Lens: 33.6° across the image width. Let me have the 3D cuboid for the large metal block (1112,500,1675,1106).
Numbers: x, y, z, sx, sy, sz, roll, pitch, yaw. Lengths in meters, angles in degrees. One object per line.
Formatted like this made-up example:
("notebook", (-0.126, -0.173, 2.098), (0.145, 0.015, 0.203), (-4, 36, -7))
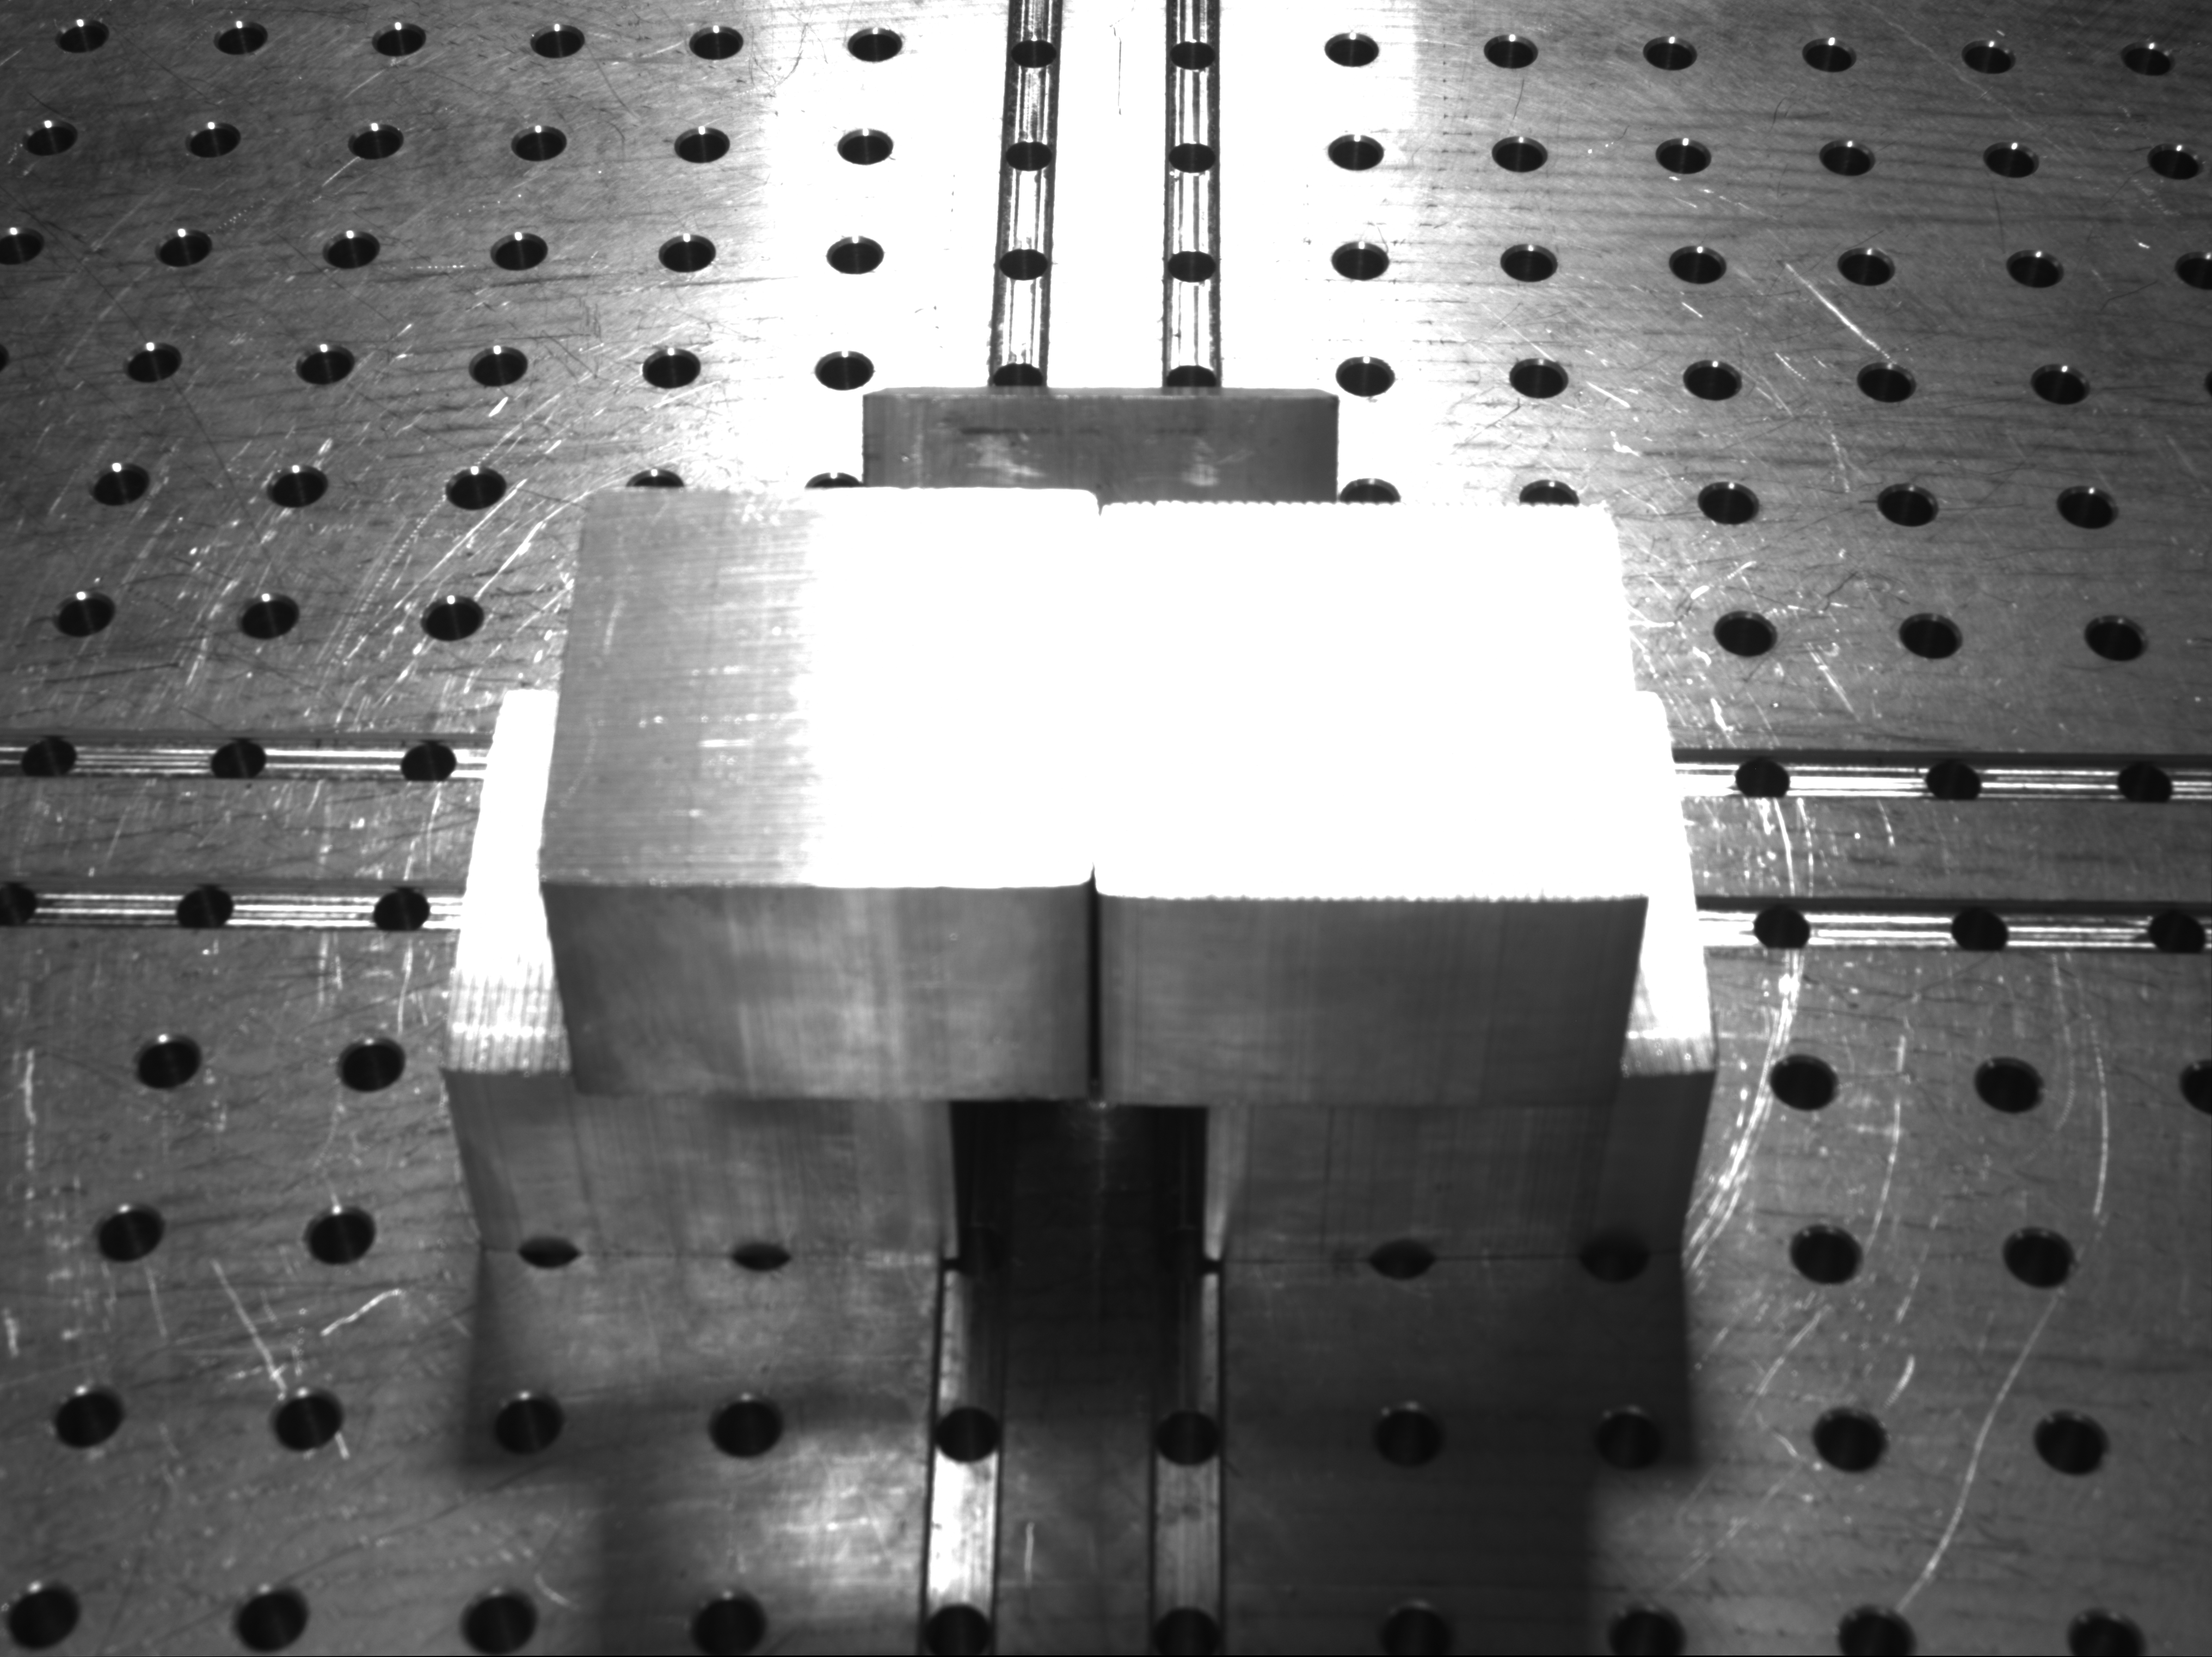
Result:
("large metal block", (0.041, -0.004, 0.565), (0.080, 0.050, 0.080), (0, 50, 0))

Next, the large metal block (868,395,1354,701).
("large metal block", (0.001, -0.052, 0.646), (0.080, 0.050, 0.080), (0, 8, 0))

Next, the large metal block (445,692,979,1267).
("large metal block", (-0.061, 0.025, 0.609), (0.080, 0.050, 0.080), (1, 50, 1))

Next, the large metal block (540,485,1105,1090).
("large metal block", (-0.040, -0.007, 0.565), (0.080, 0.050, 0.080), (0, 50, 0))

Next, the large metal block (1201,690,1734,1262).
("large metal block", (0.056, 0.024, 0.608), (0.080, 0.050, 0.080), (-1, 50, -1))
